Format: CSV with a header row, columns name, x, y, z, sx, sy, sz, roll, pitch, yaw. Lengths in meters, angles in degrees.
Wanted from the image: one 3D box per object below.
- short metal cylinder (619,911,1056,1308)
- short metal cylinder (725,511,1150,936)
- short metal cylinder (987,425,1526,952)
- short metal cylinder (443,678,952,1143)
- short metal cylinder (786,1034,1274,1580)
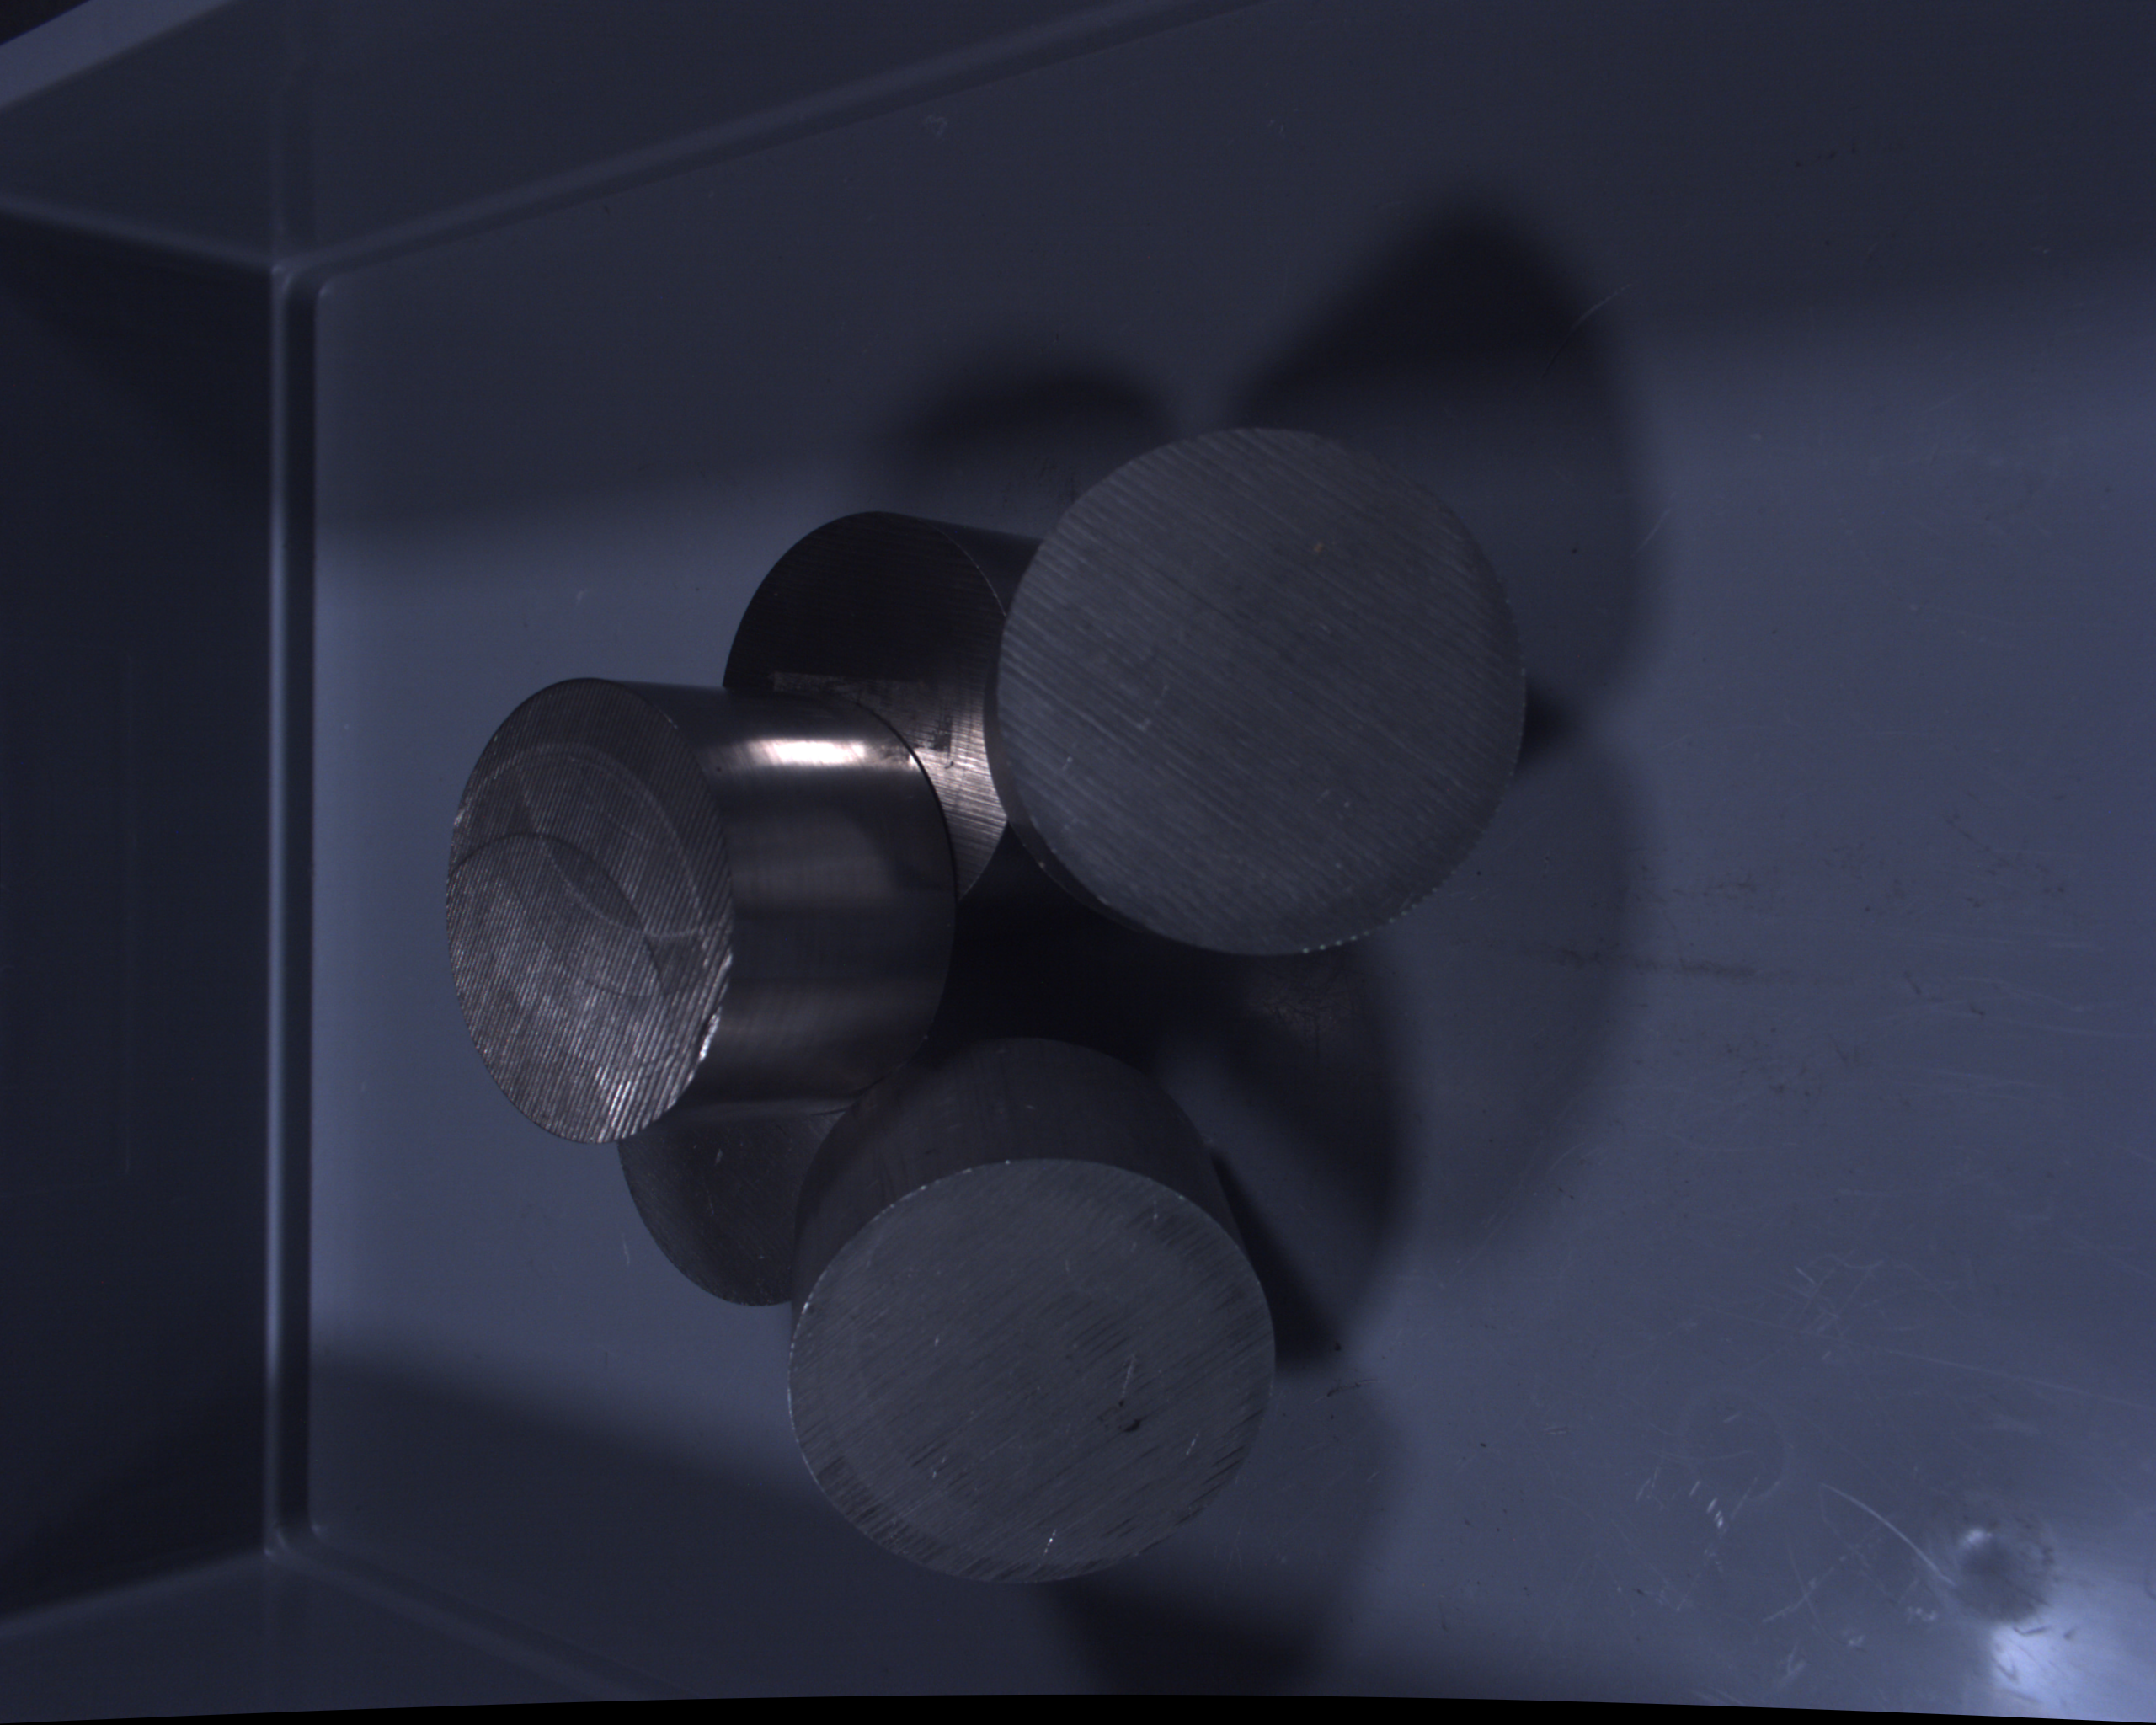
name,x,y,z,sx,sy,sz,roll,pitch,yaw
short metal cylinder,-0.050,0.047,0.428,0.080,0.050,0.079,0,90,39
short metal cylinder,-0.024,-0.025,0.406,0.080,0.050,0.079,0,90,39
short metal cylinder,0.026,-0.026,0.339,0.081,0.050,0.079,0,89,-5
short metal cylinder,-0.070,0.008,0.377,0.080,0.050,0.079,0,90,39
short metal cylinder,-0.010,0.077,0.367,0.050,0.081,0.079,-112,39,-71
